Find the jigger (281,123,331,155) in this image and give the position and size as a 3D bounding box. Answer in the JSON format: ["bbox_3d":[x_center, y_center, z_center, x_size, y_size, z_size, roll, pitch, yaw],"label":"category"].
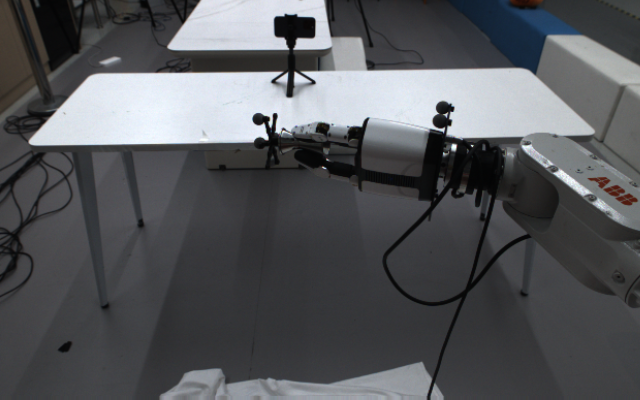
[{"bbox_3d":[-0.016,-0.088,0.709,0.071,0.043,0.043,3,34,14],"label":"jigger"}]
